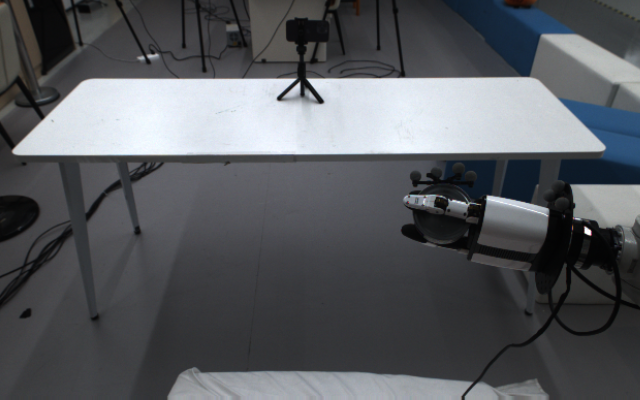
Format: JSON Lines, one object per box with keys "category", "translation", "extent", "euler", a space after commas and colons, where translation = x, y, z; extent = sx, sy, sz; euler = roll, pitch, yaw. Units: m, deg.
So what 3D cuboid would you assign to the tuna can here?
{"category": "tuna can", "translation": [0.179, 0.019, 0.707], "extent": [0.085, 0.034, 0.085], "euler": [-4, 70, 11]}
